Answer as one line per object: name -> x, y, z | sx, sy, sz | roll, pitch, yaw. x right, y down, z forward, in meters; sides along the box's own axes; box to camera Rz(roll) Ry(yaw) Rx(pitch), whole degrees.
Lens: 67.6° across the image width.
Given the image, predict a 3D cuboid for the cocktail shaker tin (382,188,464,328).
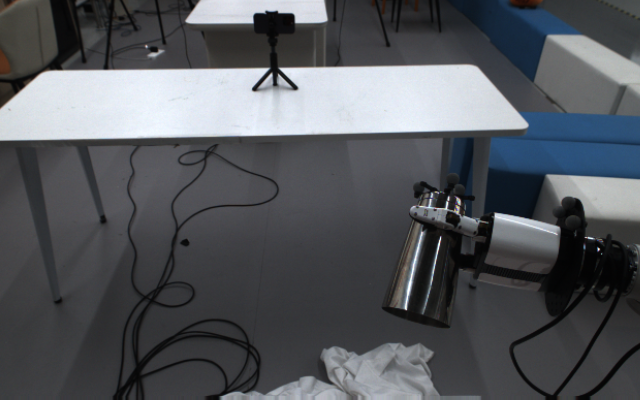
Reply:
cocktail shaker tin -> 0.151, 0.075, 0.665 | 0.093, 0.093, 0.170 | 13, 71, 15
